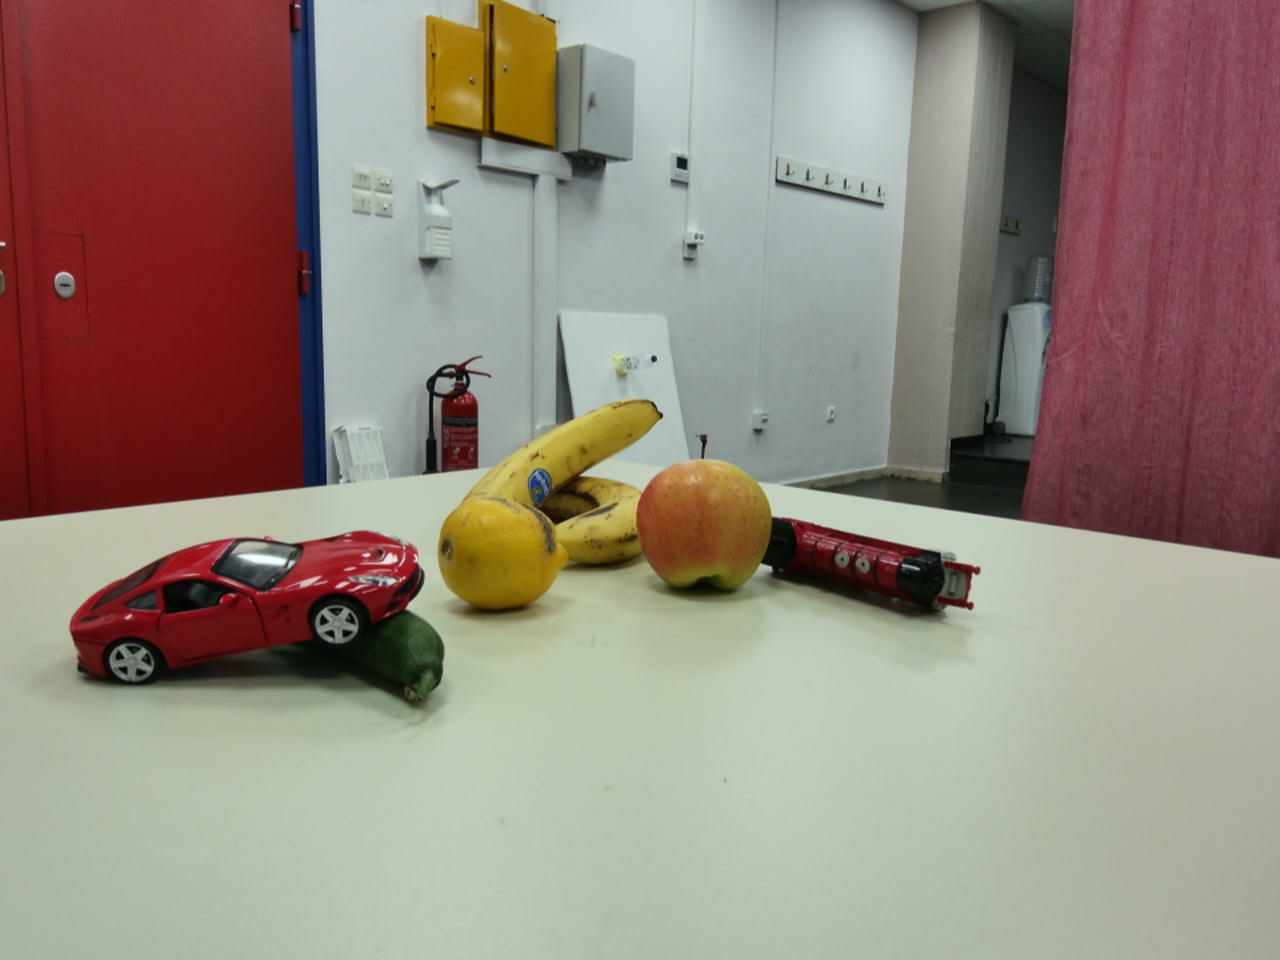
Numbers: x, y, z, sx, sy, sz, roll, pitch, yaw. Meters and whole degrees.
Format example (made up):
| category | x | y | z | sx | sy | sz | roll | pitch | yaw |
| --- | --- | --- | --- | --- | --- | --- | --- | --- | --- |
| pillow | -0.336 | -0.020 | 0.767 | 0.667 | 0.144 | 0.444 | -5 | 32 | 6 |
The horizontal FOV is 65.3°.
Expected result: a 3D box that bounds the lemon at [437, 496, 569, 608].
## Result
| category | x | y | z | sx | sy | sz | roll | pitch | yaw |
| --- | --- | --- | --- | --- | --- | --- | --- | --- | --- |
| lemon | -0.071 | 0.036 | 0.505 | 0.058 | 0.056 | 0.061 | 5 | 8 | 33 |
